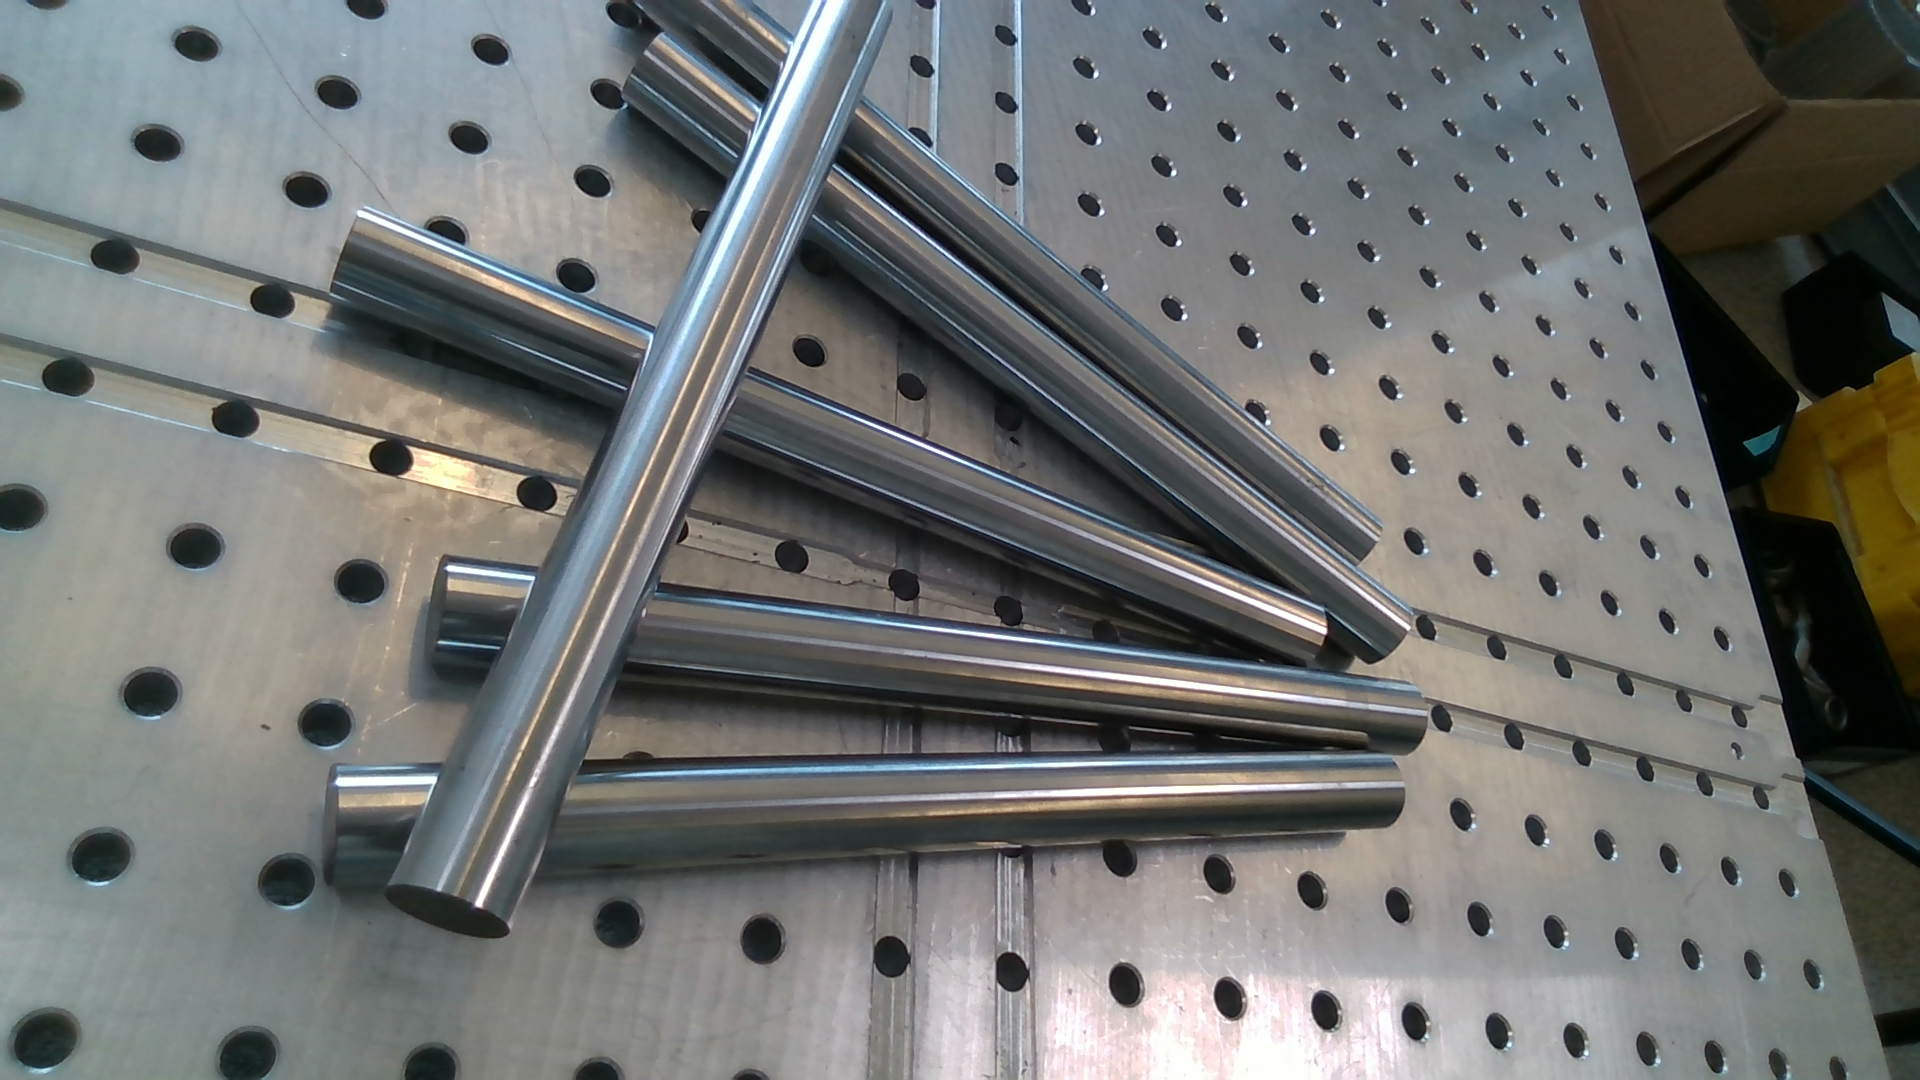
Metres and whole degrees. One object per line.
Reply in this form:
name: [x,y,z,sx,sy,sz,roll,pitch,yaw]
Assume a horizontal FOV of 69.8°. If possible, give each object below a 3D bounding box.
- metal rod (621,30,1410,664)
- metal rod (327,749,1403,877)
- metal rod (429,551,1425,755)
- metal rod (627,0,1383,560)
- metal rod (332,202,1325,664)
metal rod: [0.024,-0.056,0.441,0.300,0.025,0.025,36,52,-10]
metal rod: [0.000,0.068,0.360,0.300,0.025,0.025,5,63,-30]
metal rod: [0.012,0.037,0.384,0.300,0.025,0.025,9,61,-27]
metal rod: [0.021,-0.089,0.456,0.300,0.025,0.025,38,52,-9]
metal rod: [-0.021,-0.021,0.395,0.300,0.025,0.025,22,56,-21]
